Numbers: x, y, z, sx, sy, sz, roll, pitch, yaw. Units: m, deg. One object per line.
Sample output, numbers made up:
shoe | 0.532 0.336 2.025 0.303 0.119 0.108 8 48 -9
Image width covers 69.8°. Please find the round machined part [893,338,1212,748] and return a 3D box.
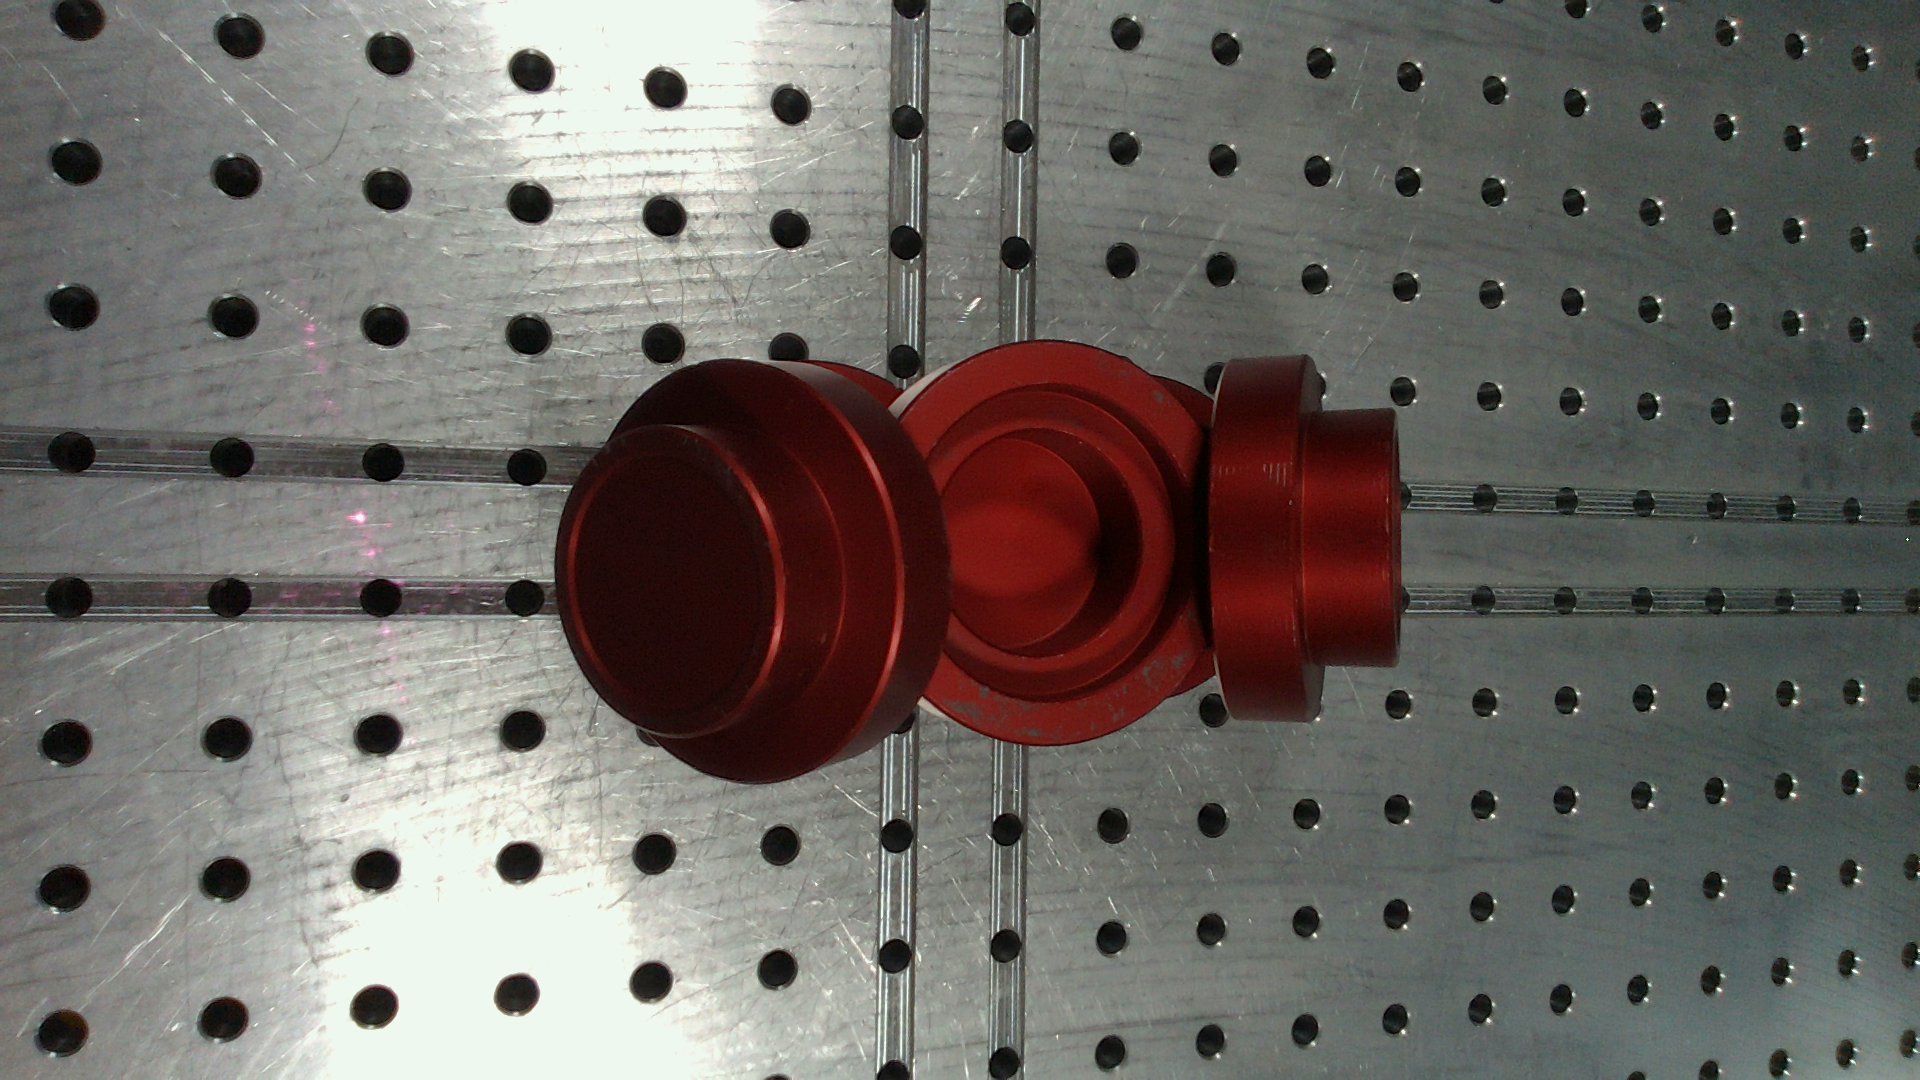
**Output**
round machined part | 0.017 0.001 0.347 0.098 0.042 0.098 0 90 -20

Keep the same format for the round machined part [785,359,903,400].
round machined part | -0.039 0.000 0.372 0.098 0.042 0.098 0 90 -20

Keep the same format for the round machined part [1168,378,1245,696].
round machined part | 0.053 0.000 0.406 0.098 0.042 0.098 0 90 -20

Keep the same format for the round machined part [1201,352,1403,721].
round machined part | 0.095 -0.001 0.367 0.042 0.098 0.098 0 90 21

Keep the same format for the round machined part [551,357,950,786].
round machined part | -0.054 0.008 0.313 0.042 0.098 0.098 -8 94 -57
